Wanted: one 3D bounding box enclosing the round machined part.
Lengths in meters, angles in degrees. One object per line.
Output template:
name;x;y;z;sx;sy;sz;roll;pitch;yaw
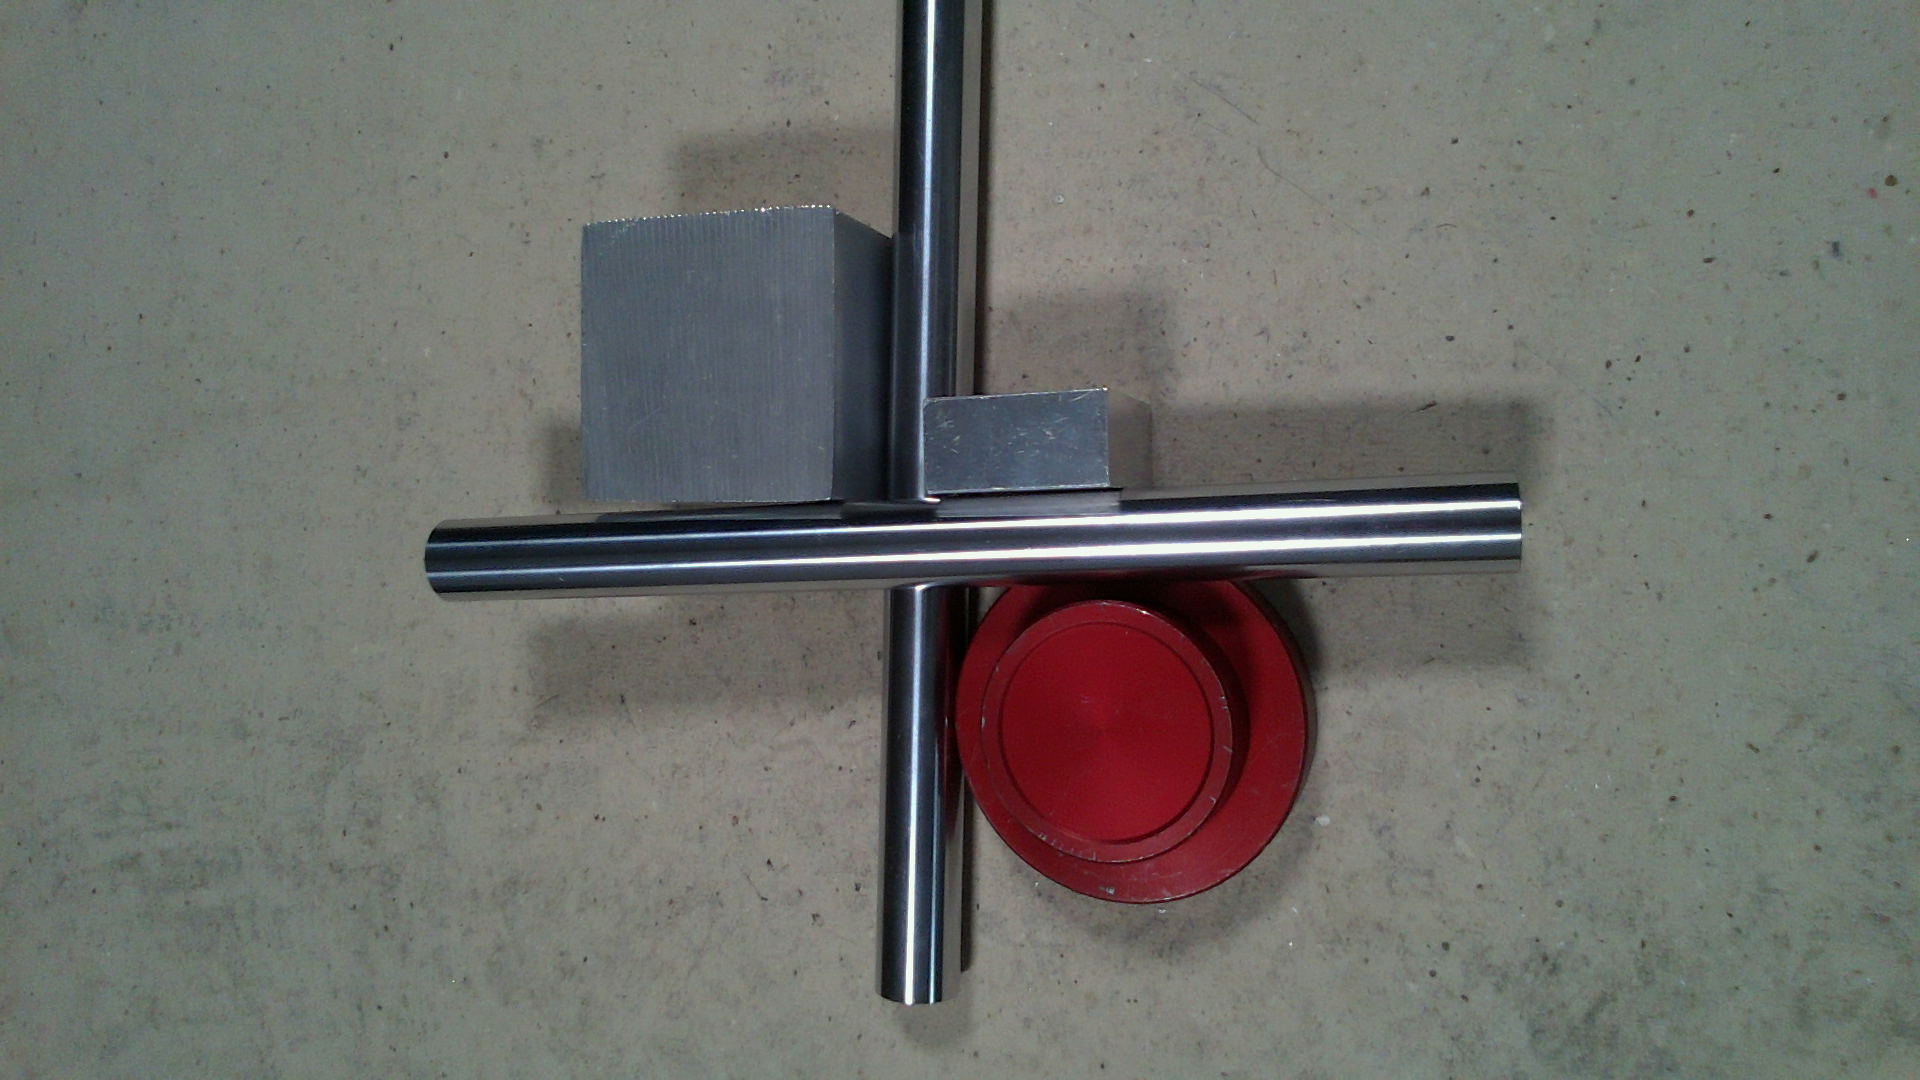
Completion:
round machined part;0.044;0.050;0.370;0.098;0.042;0.098;0;90;20

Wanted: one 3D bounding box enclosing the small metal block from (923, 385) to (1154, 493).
small metal block;0.023;-0.026;0.375;0.050;0.050;0.025;-2;90;20

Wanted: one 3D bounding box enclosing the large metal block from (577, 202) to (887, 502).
large metal block;-0.063;-0.051;0.405;0.080;0.050;0.080;1;90;20

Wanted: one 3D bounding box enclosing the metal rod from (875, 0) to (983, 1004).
metal rod;-0.009;-0.019;0.399;0.025;0.025;0.300;2;91;20

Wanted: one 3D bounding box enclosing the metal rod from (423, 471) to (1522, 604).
metal rod;-0.010;0.001;0.373;0.299;0.025;0.025;-2;89;16
